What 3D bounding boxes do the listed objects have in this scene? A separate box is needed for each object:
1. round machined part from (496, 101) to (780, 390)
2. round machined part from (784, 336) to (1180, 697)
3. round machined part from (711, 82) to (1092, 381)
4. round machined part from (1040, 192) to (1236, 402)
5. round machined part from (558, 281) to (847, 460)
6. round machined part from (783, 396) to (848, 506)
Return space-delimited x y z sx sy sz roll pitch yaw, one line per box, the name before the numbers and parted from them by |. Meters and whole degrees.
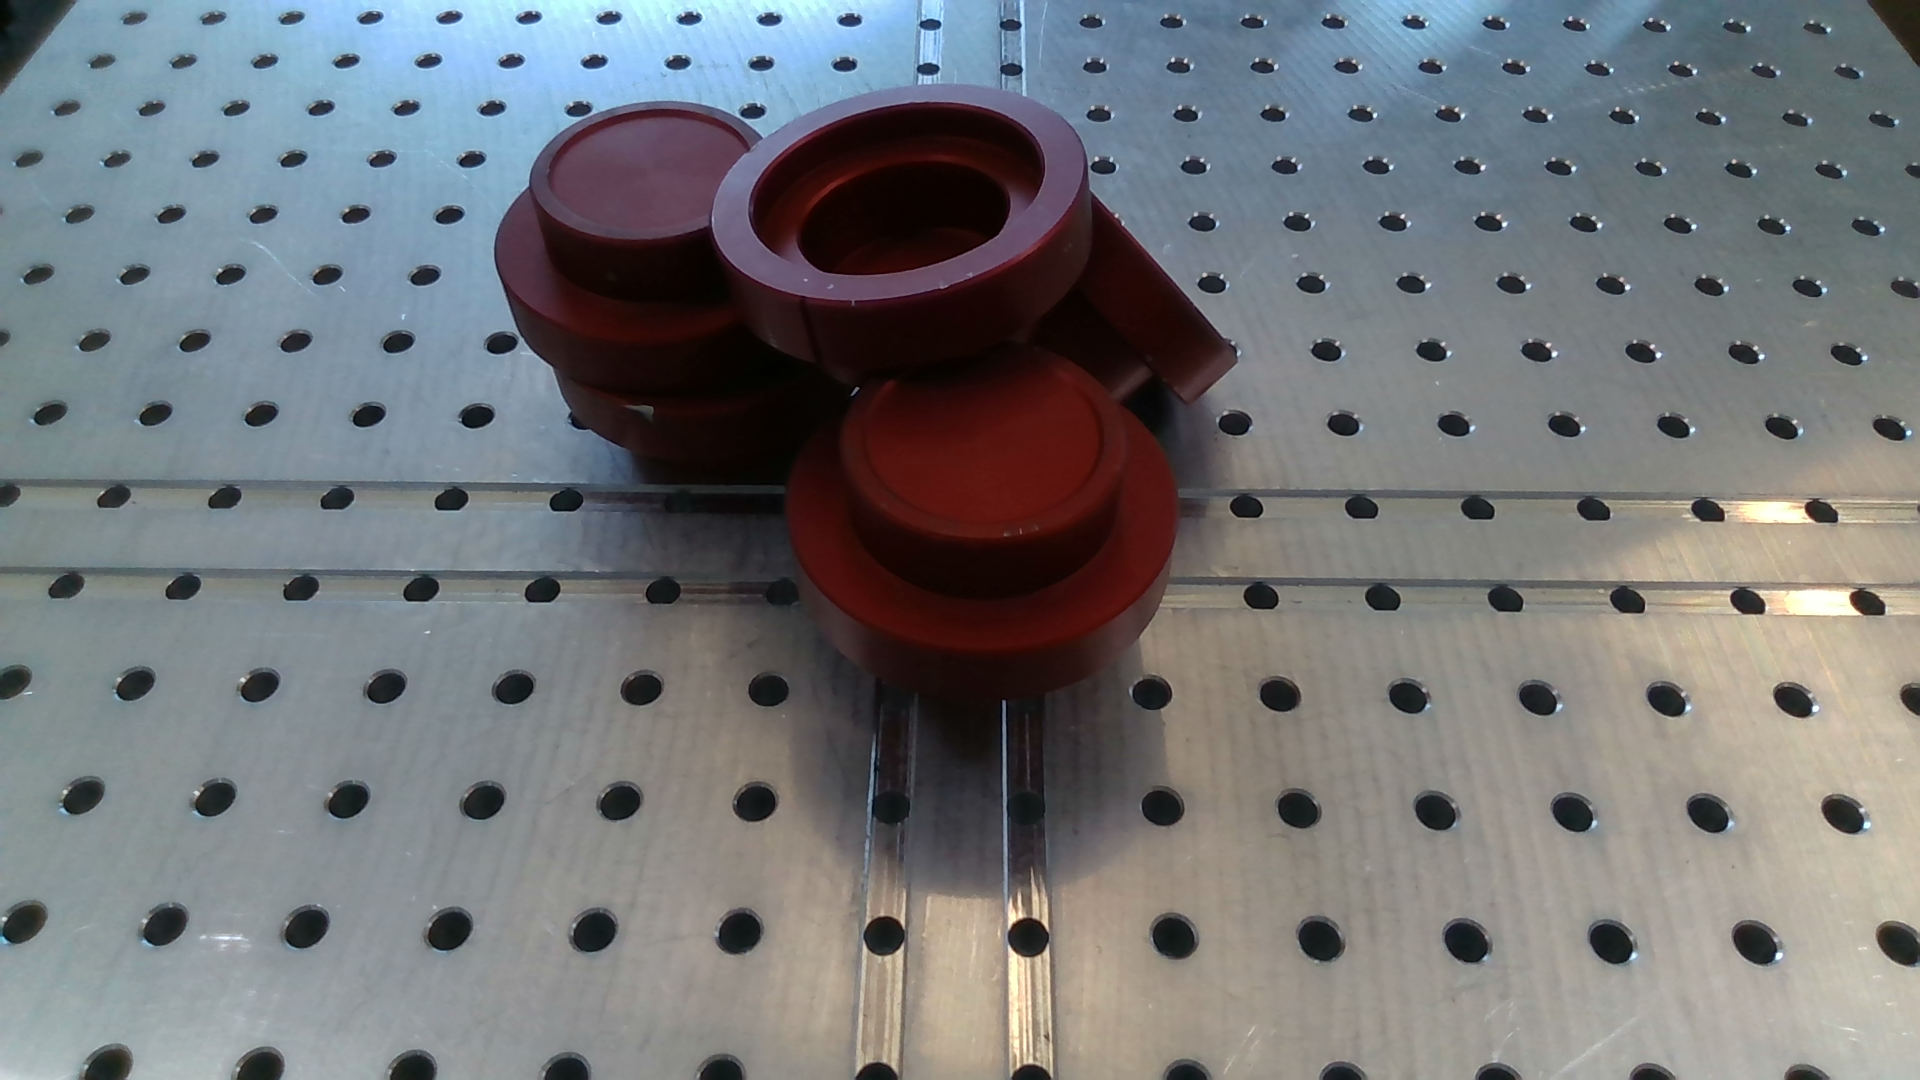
round machined part | -0.088 -0.093 0.408 0.098 0.042 0.098 0 50 0
round machined part | 0.005 -0.013 0.341 0.098 0.042 0.098 0 50 0
round machined part | -0.013 -0.078 0.367 0.098 0.042 0.098 -5 47 6
round machined part | 0.037 -0.078 0.426 0.042 0.098 0.098 -43 55 11
round machined part | -0.078 -0.074 0.420 0.098 0.042 0.098 0 50 0
round machined part | 0.001 -0.015 0.371 0.098 0.042 0.098 0 50 0
